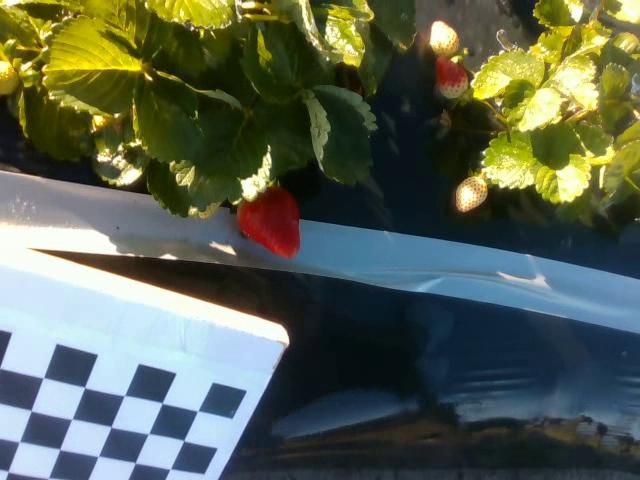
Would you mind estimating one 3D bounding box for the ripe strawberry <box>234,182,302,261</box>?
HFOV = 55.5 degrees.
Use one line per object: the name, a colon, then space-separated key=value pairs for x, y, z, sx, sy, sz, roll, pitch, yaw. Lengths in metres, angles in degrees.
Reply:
ripe strawberry: x=-0.032 y=-0.012 z=0.399 sx=0.045 sy=0.064 sz=0.048 roll=-39 pitch=-33 yaw=9
